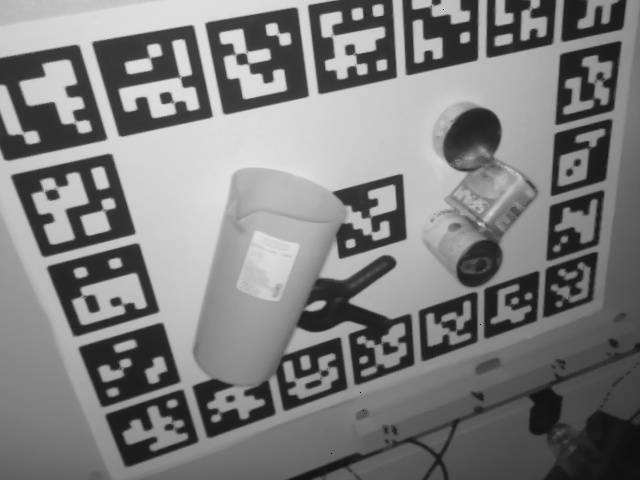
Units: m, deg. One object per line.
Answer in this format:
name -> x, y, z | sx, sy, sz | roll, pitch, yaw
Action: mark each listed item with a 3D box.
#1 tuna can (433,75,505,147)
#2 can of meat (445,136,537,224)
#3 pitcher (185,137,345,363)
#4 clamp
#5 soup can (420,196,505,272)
tuna can -> 0.185, -0.161, 0.866 | 0.086, 0.033, 0.085 | -8, 115, -17
can of meat -> 0.222, -0.079, 0.877 | 0.083, 0.101, 0.058 | -47, 120, 2
pitcher -> -0.072, 0.015, 0.791 | 0.192, 0.132, 0.240 | -5, 126, -43
clamp -> 0.027, 0.060, 0.922 | 0.166, 0.036, 0.121 | -11, 122, -12
soup can -> 0.183, -0.010, 0.900 | 0.069, 0.101, 0.067 | -9, 116, -19
